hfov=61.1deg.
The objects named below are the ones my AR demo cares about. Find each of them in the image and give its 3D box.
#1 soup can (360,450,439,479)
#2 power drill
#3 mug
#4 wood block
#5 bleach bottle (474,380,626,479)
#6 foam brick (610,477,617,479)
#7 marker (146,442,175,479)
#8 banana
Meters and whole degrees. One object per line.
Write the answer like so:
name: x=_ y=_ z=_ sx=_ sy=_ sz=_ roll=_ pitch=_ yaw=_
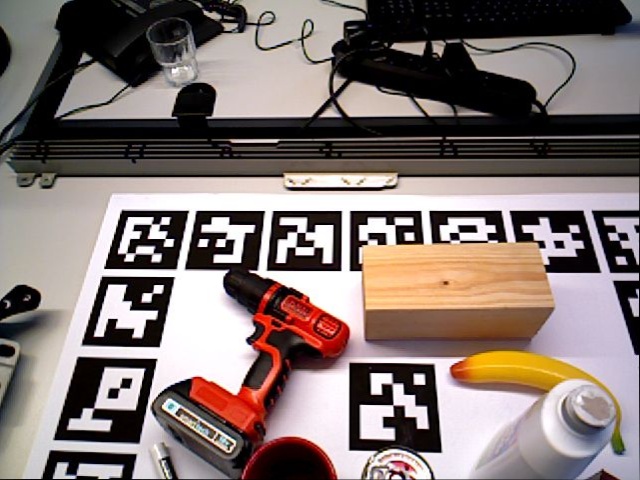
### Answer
soup can: x=0.069 y=0.237 z=0.508 sx=0.067 sy=0.104 sz=0.067 roll=-1 pitch=51 yaw=0
power drill: x=-0.079 y=0.139 z=0.625 sx=0.184 sy=0.058 sz=0.183 roll=28 pitch=60 yaw=16
mug: x=-0.039 y=0.248 z=0.526 sx=0.115 sy=0.083 sz=0.093 roll=-40 pitch=65 yaw=-19
wood block: x=0.157 y=0.065 z=0.636 sx=0.206 sy=0.092 sz=0.088 roll=0 pitch=56 yaw=3
bleach bottle: x=0.193 y=0.174 z=0.459 sx=0.068 sy=0.255 sz=0.100 roll=26 pitch=59 yaw=20
foam brick: x=0.271 y=0.265 z=0.501 sx=0.053 sy=0.079 sz=0.050 roll=30 pitch=59 yaw=24
marker: x=-0.153 y=0.269 z=0.562 sx=0.019 sy=0.020 sz=0.120 roll=-25 pitch=59 yaw=-12
banana: x=0.235 y=0.152 z=0.599 sx=0.197 sy=0.039 sz=0.073 roll=15 pitch=72 yaw=11
